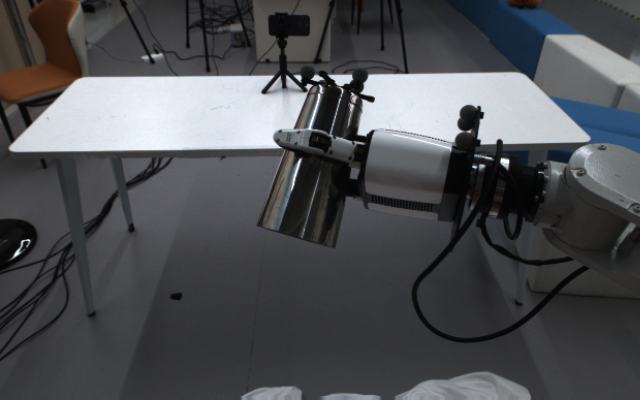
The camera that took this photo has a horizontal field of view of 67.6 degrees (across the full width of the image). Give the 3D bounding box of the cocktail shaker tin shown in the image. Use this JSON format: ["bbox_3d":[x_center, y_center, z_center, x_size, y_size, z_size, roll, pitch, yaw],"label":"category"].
[{"bbox_3d":[-0.004,-0.039,0.552,0.093,0.170,0.093,15,-6,2],"label":"cocktail shaker tin"}]
